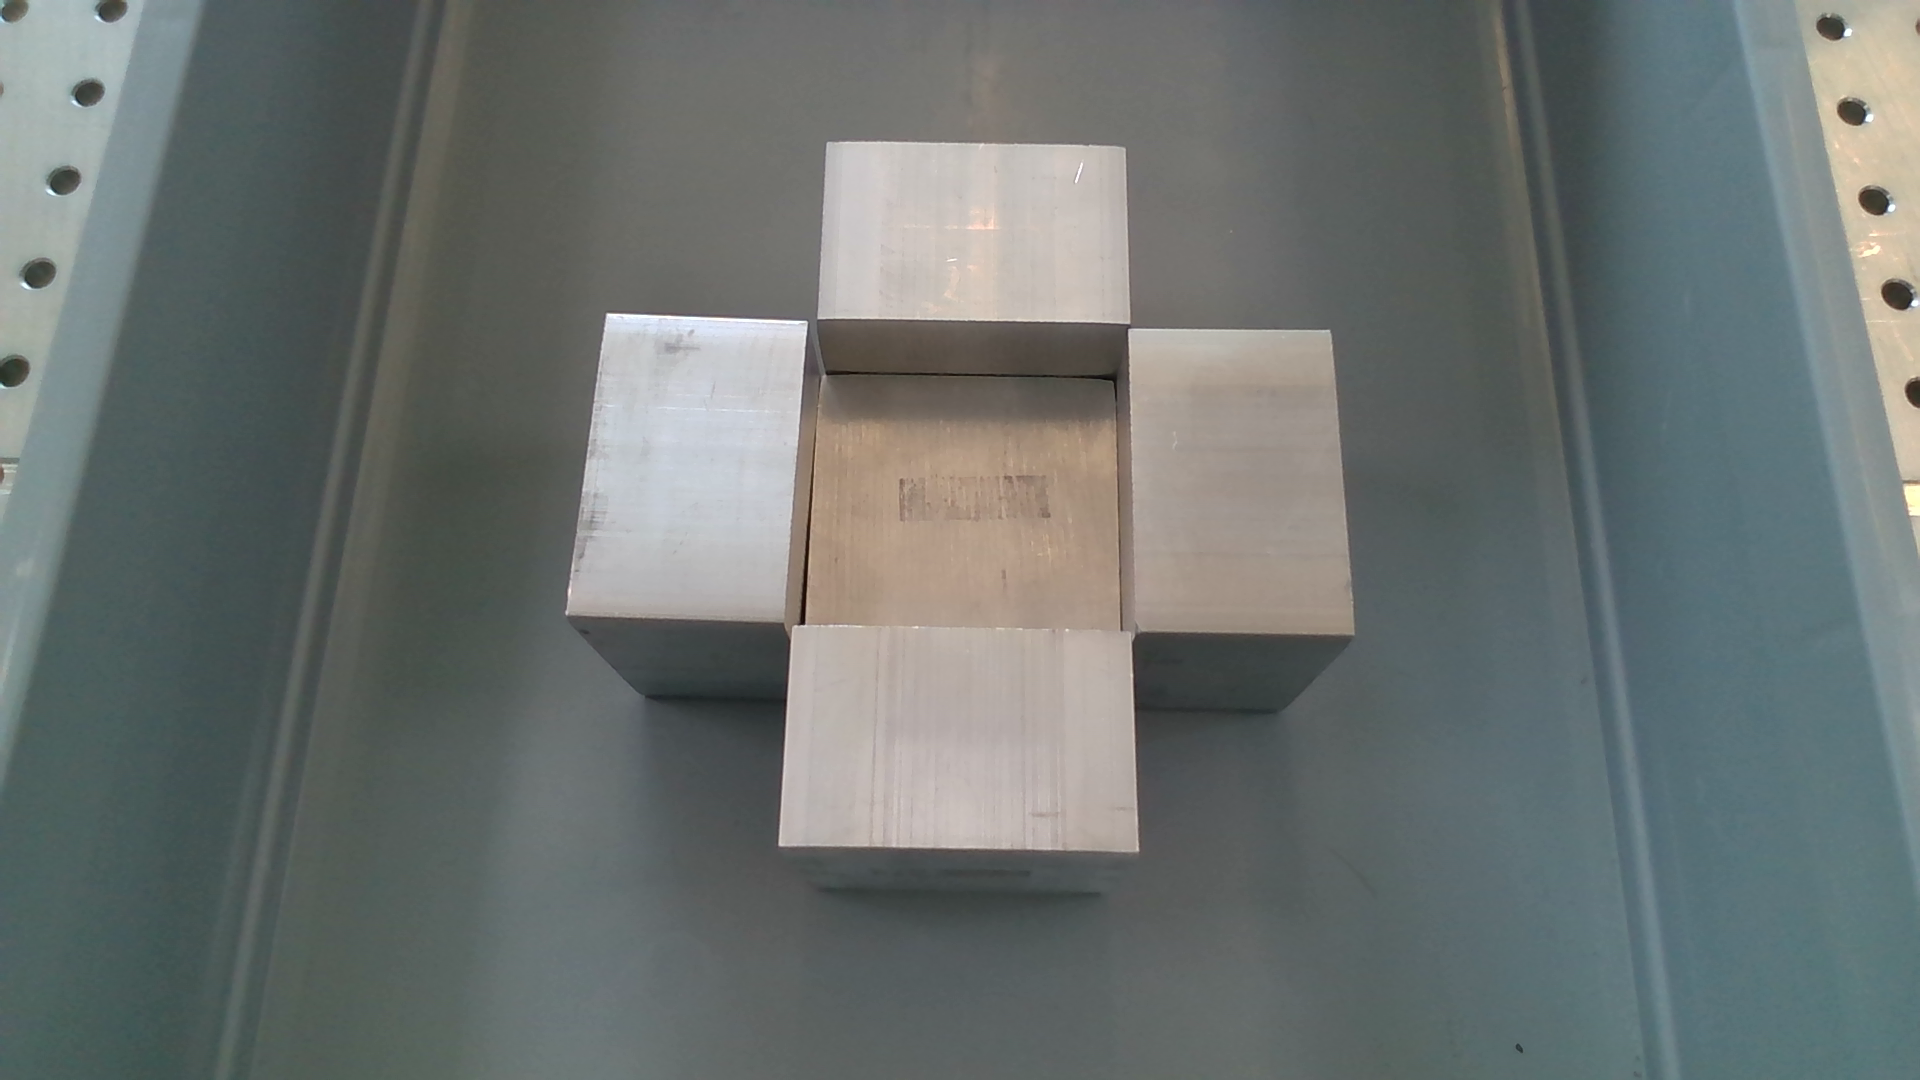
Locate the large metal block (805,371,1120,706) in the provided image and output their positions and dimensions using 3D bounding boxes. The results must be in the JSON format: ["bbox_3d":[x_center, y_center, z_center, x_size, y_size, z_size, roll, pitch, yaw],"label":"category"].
[{"bbox_3d":[0.001,0.001,0.380,0.080,0.050,0.080,1,70,0],"label":"large metal block"}]

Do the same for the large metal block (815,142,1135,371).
[{"bbox_3d":[0.004,-0.067,0.390,0.080,0.080,0.050,1,70,0],"label":"large metal block"}]

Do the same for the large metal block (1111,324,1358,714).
[{"bbox_3d":[0.067,-0.002,0.366,0.050,0.080,0.080,1,70,0],"label":"large metal block"}]

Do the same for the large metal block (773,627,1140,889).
[{"bbox_3d":[0.000,0.057,0.346,0.080,0.080,0.050,1,70,0],"label":"large metal block"}]

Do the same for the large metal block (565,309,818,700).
[{"bbox_3d":[-0.065,-0.006,0.367,0.050,0.080,0.080,2,70,1],"label":"large metal block"}]
